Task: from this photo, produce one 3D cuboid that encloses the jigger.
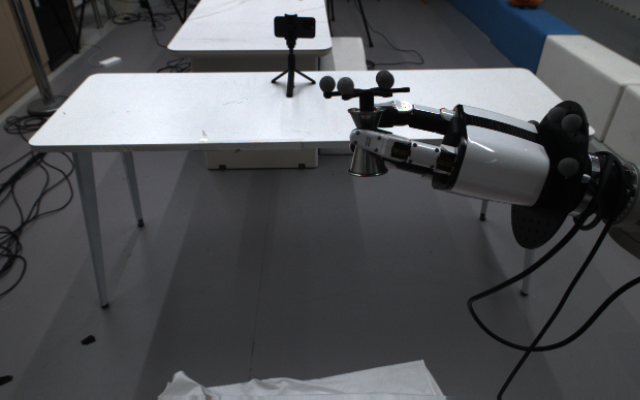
[{"bbox_3d":[0.051,-0.062,0.519,0.043,0.071,0.043,-3,19,1],"label":"jigger"}]
